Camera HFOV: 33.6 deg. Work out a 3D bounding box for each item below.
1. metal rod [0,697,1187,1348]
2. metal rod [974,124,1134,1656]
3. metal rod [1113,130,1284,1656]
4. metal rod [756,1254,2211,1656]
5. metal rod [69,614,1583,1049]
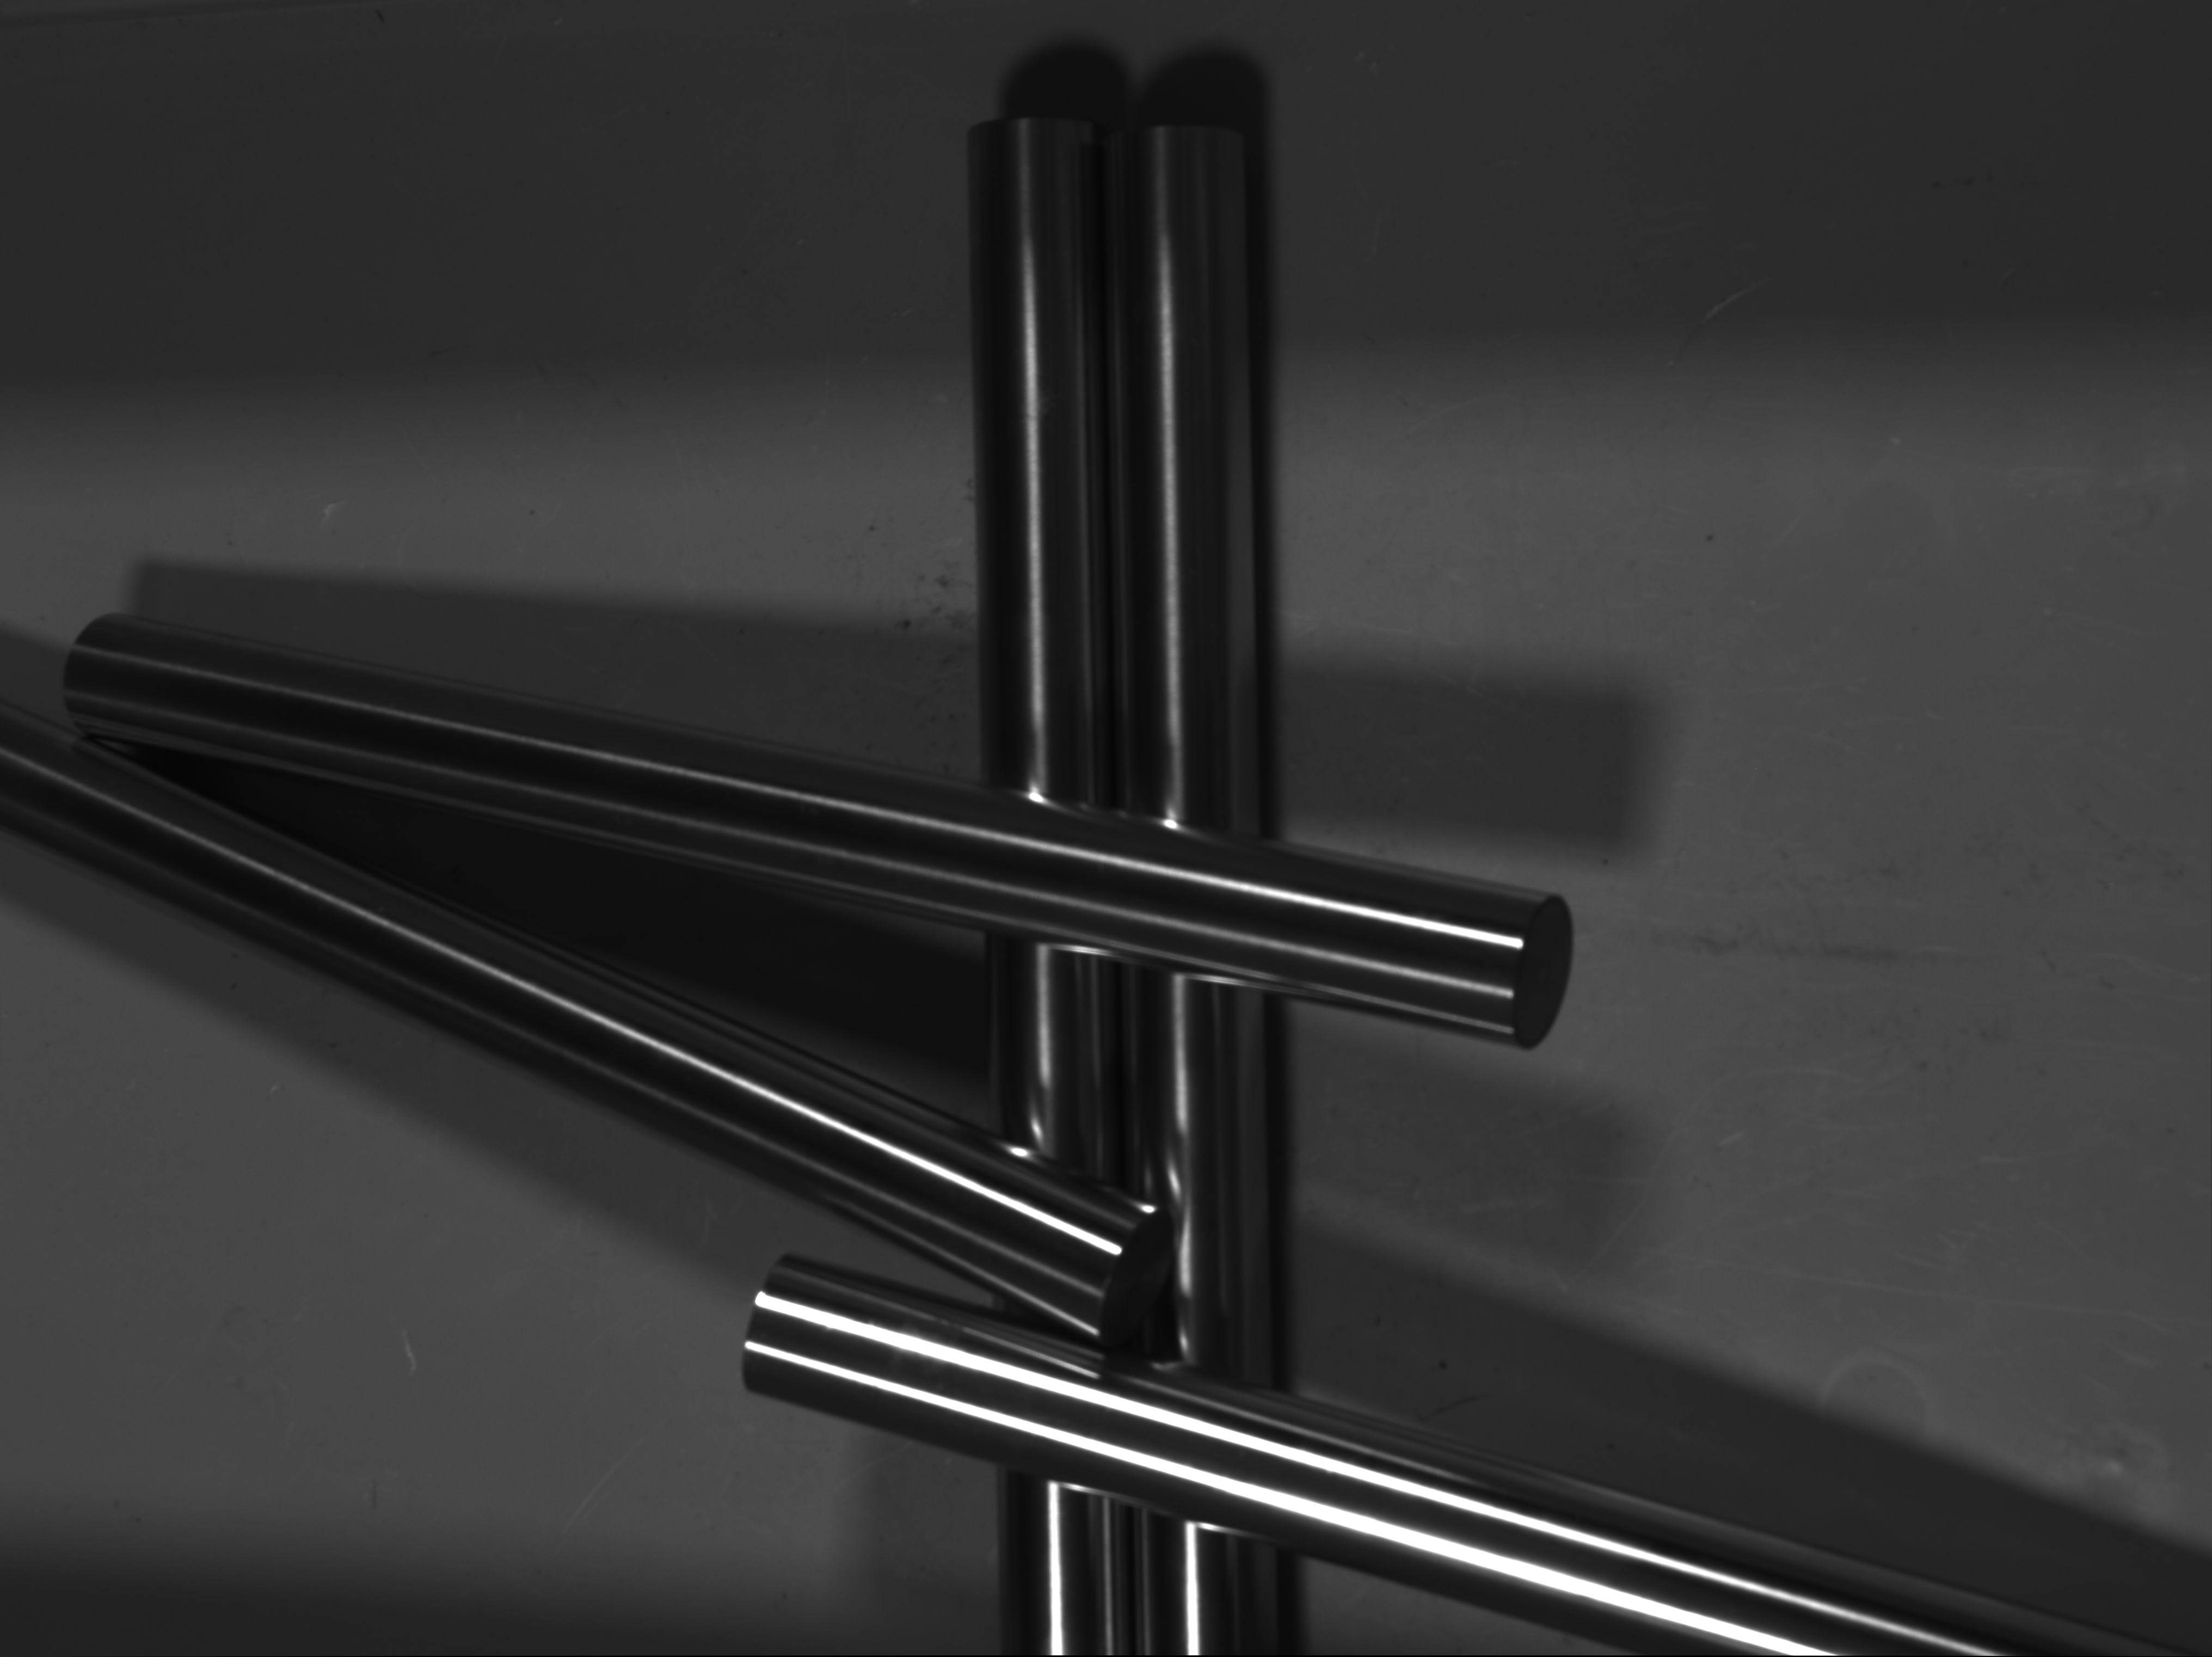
[{"bbox_3d":[-0.120,0.026,0.673,0.299,0.025,0.025,21,97,24],"label":"metal rod"},{"bbox_3d":[-0.008,0.028,0.644,0.025,0.025,0.300,-1,89,20],"label":"metal rod"},{"bbox_3d":[0.016,0.031,0.636,0.025,0.025,0.300,-1,89,20],"label":"metal rod"},{"bbox_3d":[0.086,0.120,0.594,0.300,0.025,0.025,14,95,14],"label":"metal rod"},{"bbox_3d":[-0.061,-0.003,0.644,0.299,0.025,0.025,11,94,27],"label":"metal rod"}]
